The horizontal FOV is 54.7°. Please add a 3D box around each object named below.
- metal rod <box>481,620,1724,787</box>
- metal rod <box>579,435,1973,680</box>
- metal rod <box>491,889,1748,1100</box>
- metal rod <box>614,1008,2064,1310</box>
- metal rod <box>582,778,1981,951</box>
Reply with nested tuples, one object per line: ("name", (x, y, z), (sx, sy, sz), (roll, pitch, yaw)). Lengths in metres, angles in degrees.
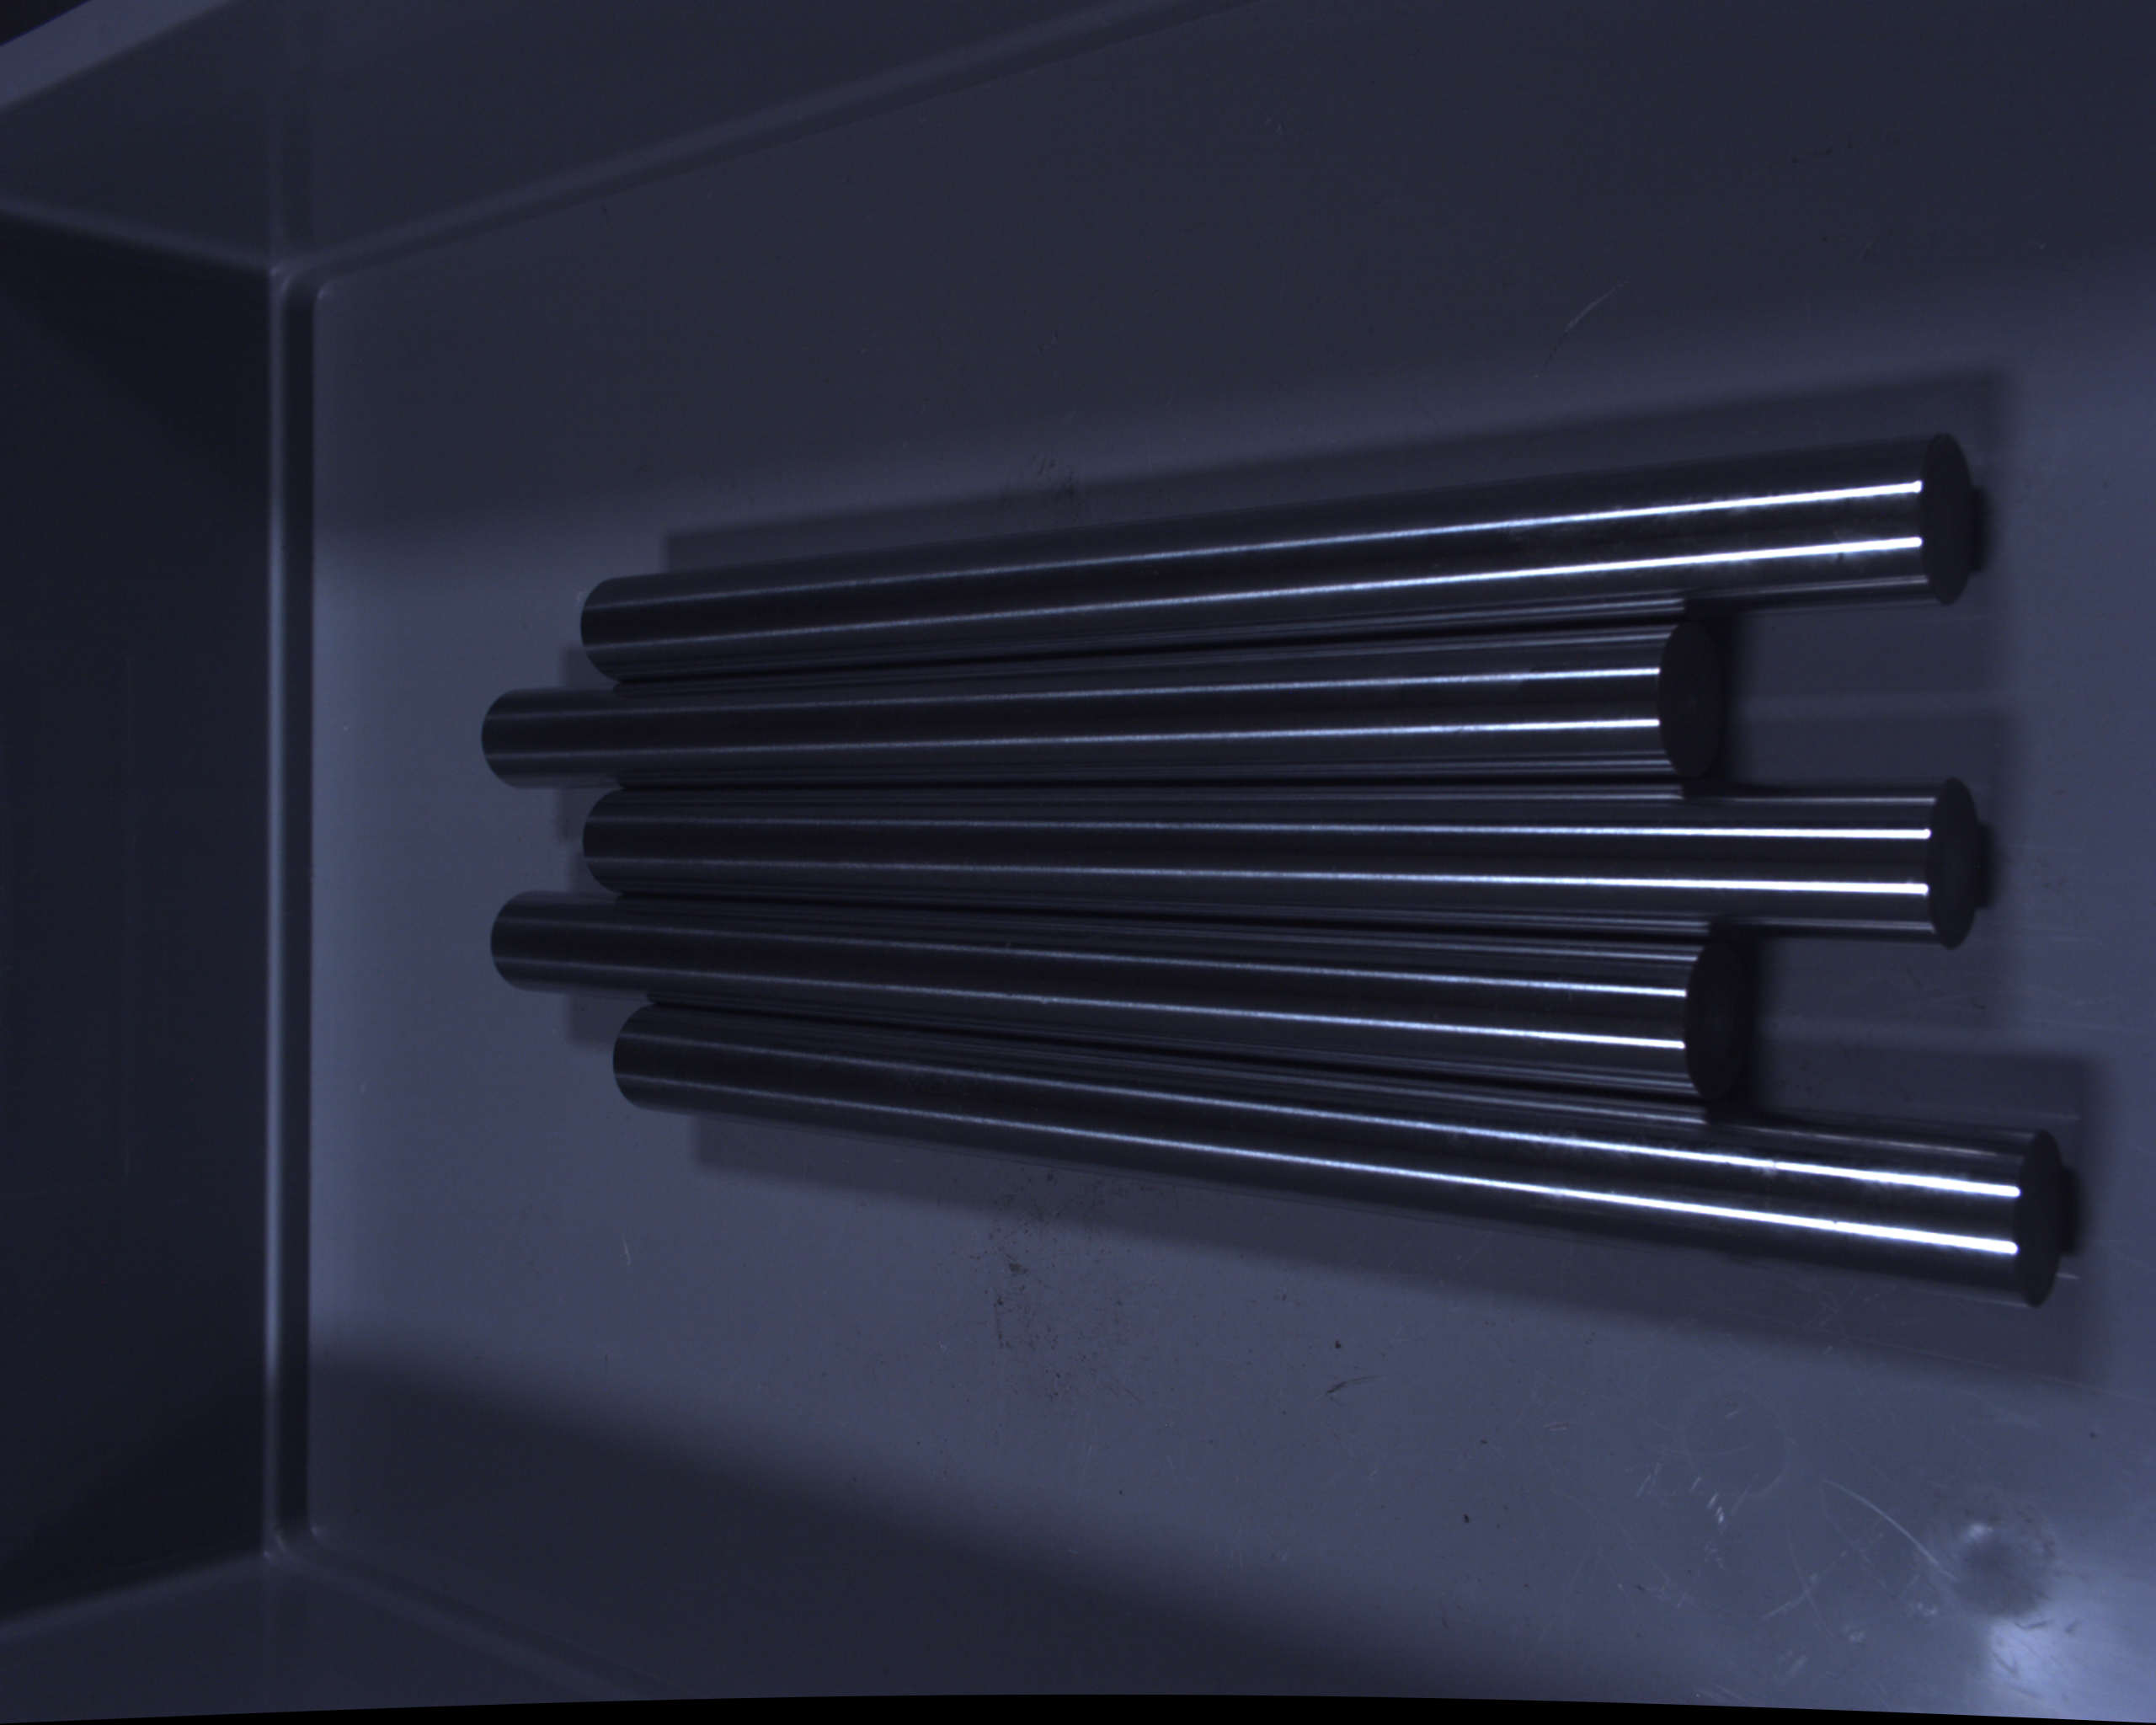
("metal rod", (-0.020, -0.028, 0.420), (0.300, 0.025, 0.025), (1, 91, 39))
("metal rod", (0.009, -0.052, 0.396), (0.300, 0.025, 0.025), (1, 91, 39))
("metal rod", (-0.017, 0.022, 0.417), (0.300, 0.025, 0.025), (1, 91, 39))
("metal rod", (0.019, 0.048, 0.388), (0.300, 0.025, 0.025), (1, 91, 39))
("metal rod", (0.010, -0.002, 0.395), (0.300, 0.025, 0.025), (1, 91, 39))
